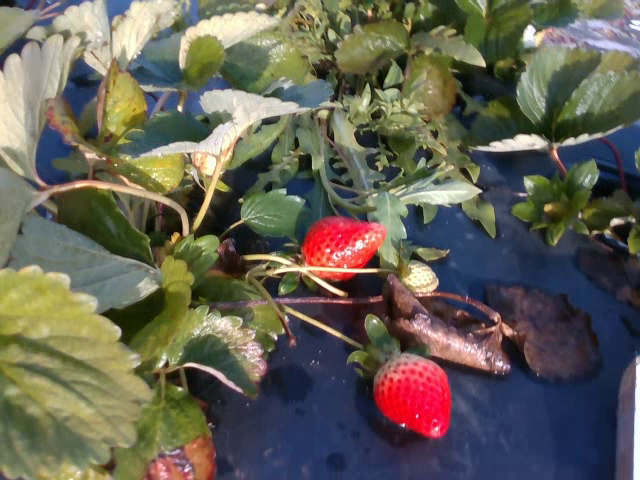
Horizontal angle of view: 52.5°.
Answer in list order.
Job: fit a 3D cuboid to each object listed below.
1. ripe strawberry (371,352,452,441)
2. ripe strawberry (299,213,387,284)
[{"bbox_3d":[0.038,0.065,0.257,0.035,0.030,0.043,-14,45,-12],"label":"ripe strawberry"},{"bbox_3d":[0.012,-0.001,0.314,0.048,0.040,0.031,-29,-53,33],"label":"ripe strawberry"}]
